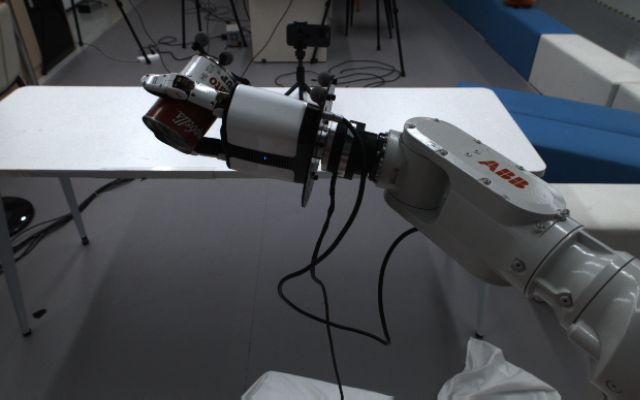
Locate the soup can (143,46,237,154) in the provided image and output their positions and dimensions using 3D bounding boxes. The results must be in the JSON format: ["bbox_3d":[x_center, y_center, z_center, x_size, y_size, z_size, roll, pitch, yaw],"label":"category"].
[{"bbox_3d":[-0.153,-0.114,0.577,0.067,0.067,0.101,24,71,28],"label":"soup can"}]
